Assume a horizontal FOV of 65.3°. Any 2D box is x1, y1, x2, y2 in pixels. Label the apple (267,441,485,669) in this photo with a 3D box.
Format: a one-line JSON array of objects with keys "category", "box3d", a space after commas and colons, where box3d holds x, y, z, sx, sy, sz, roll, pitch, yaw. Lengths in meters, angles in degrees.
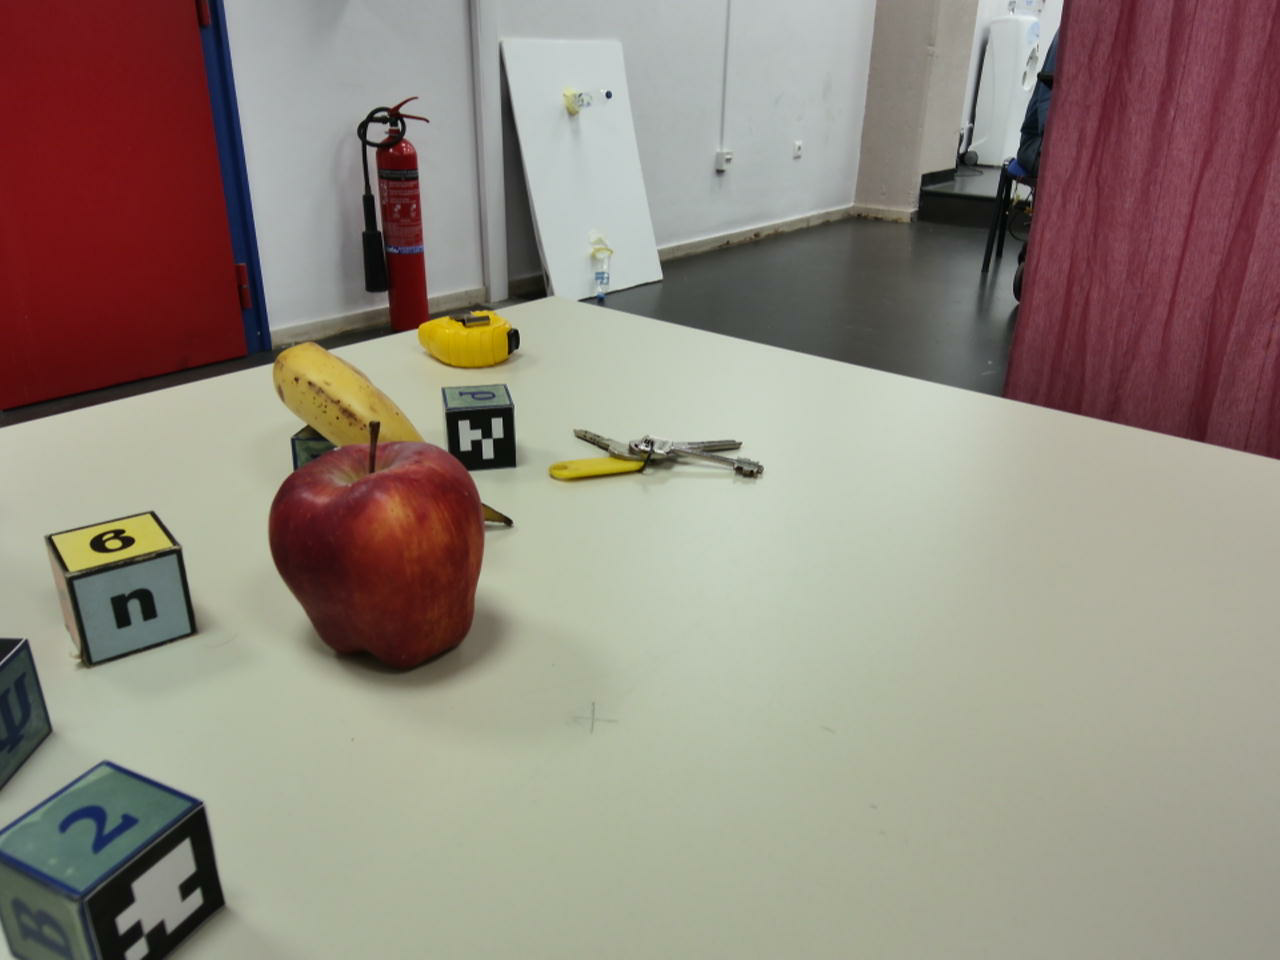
[{"category": "apple", "box3d": [-0.099, 0.022, 0.383, 0.083, 0.090, 0.083, 2, 22, -1]}]
